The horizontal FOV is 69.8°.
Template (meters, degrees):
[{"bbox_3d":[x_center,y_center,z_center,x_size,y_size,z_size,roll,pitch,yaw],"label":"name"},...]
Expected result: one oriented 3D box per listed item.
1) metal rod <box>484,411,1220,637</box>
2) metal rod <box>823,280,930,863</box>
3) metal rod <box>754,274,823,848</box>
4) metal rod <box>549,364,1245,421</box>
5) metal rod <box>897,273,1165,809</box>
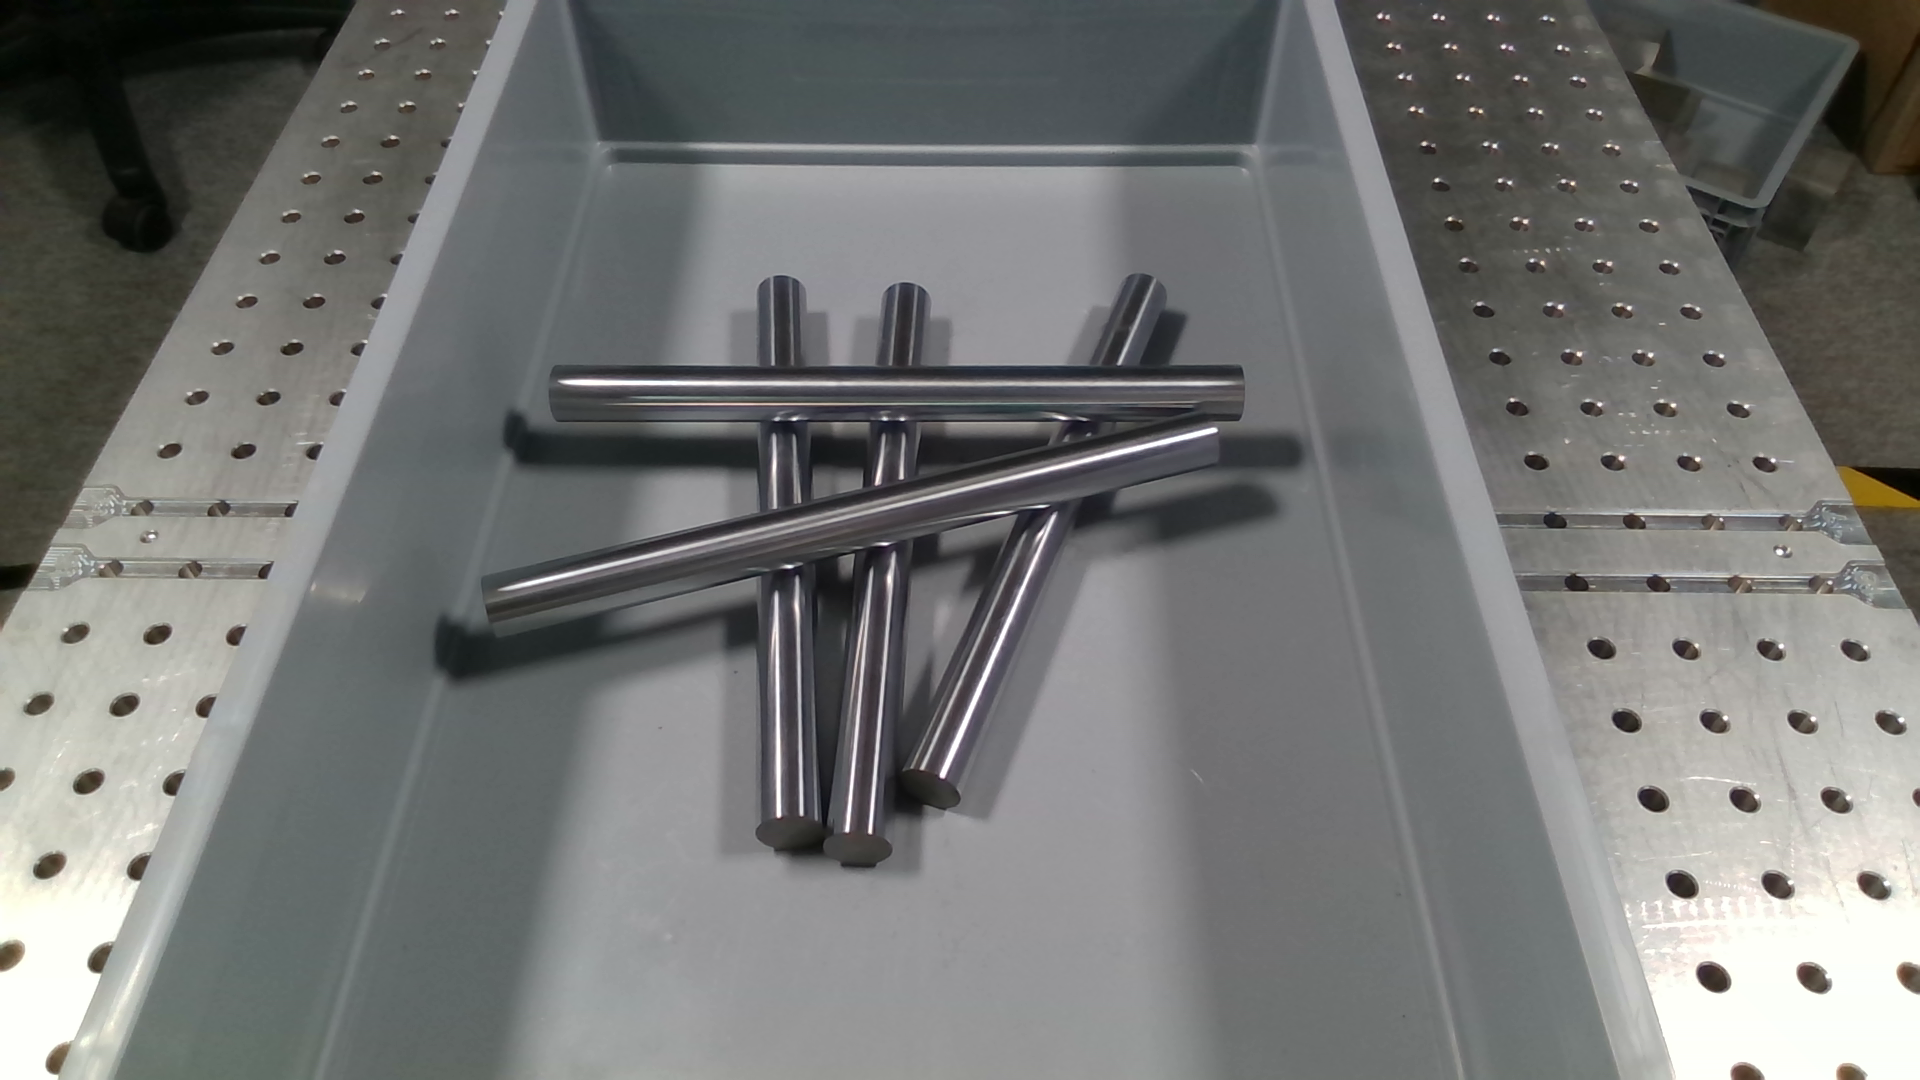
[{"bbox_3d":[-0.037,-0.009,0.560,0.300,0.025,0.025,-14,51,-11],"label":"metal rod"},{"bbox_3d":[-0.032,-0.005,0.589,0.025,0.025,0.299,1,50,1],"label":"metal rod"},{"bbox_3d":[-0.076,-0.009,0.593,0.025,0.025,0.299,-4,50,-3],"label":"metal rod"},{"bbox_3d":[-0.027,-0.065,0.606,0.300,0.025,0.025,0,50,0],"label":"metal rod"},{"bbox_3d":[0.040,-0.016,0.598,0.025,0.025,0.299,16,52,13],"label":"metal rod"}]
